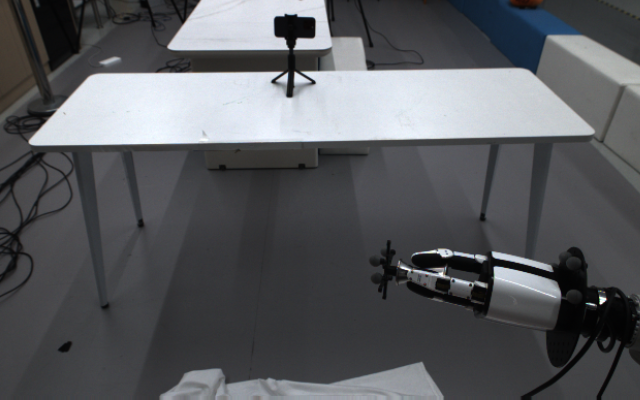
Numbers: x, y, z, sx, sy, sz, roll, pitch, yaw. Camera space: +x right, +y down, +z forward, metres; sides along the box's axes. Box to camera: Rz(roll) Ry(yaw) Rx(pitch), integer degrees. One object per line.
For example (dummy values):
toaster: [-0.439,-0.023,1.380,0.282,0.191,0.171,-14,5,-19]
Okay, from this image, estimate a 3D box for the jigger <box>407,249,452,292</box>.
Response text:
jigger: [0.154,0.102,0.695,0.071,0.043,0.043,5,34,19]
